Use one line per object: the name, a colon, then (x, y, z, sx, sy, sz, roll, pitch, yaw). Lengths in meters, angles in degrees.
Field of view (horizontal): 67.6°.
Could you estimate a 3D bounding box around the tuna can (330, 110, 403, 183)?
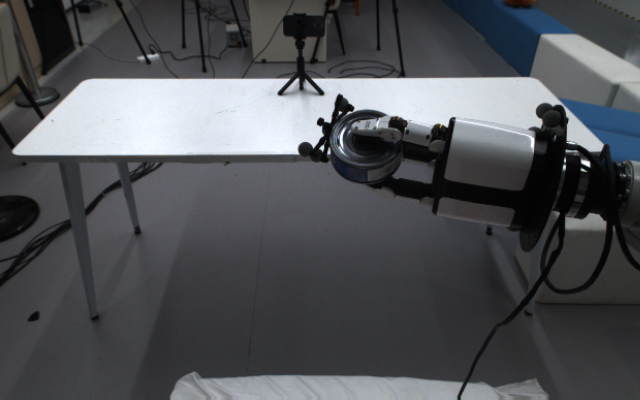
tuna can: (0.056, -0.064, 0.565, 0.085, 0.034, 0.085, -1, 61, 1)
